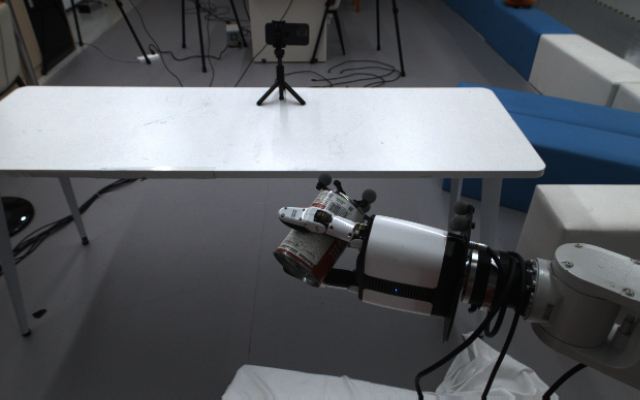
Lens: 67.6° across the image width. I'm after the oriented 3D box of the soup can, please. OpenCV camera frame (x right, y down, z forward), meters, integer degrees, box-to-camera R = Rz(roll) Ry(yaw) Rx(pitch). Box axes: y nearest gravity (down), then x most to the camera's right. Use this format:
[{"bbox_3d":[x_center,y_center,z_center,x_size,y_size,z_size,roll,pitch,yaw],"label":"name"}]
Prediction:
[{"bbox_3d":[0.001,0.043,0.587,0.067,0.067,0.101,25,67,30],"label":"soup can"}]
